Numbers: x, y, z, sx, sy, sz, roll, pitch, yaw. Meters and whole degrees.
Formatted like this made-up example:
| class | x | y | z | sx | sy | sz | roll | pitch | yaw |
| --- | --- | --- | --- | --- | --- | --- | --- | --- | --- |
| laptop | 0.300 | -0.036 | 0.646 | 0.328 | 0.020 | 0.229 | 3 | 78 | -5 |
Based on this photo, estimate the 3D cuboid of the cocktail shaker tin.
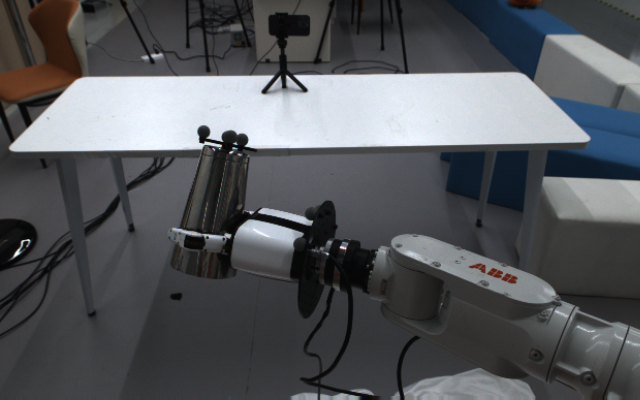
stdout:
| class | x | y | z | sx | sy | sz | roll | pitch | yaw |
| --- | --- | --- | --- | --- | --- | --- | --- | --- | --- |
| cocktail shaker tin | -0.147 | 0.015 | 0.674 | 0.093 | 0.170 | 0.093 | 12 | 5 | -1 |
